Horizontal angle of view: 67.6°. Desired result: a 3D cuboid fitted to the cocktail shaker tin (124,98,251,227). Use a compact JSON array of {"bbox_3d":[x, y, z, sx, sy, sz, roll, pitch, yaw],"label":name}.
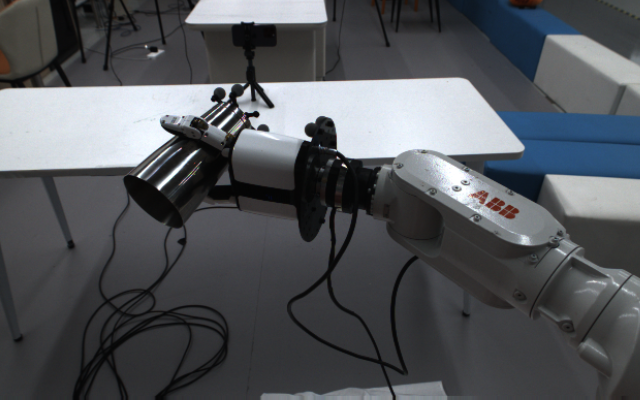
[{"bbox_3d":[-0.163,-0.059,0.642,0.093,0.093,0.170,19,55,23],"label":"cocktail shaker tin"}]
